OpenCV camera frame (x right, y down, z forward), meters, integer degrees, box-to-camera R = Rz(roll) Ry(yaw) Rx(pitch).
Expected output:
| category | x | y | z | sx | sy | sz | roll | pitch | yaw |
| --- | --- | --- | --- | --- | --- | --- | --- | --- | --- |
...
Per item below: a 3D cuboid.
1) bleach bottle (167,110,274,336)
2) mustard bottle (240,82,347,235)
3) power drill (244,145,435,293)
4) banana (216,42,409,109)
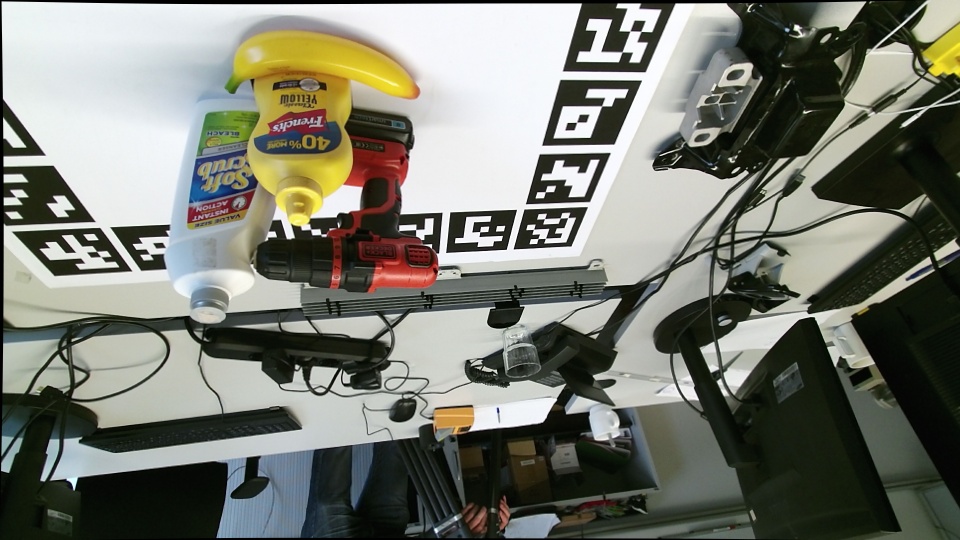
| category | x | y | z | sx | sy | sz | roll | pitch | yaw |
| --- | --- | --- | --- | --- | --- | --- | --- | --- | --- |
| bleach bottle | -0.253 | -0.052 | 0.546 | 0.103 | 0.249 | 0.068 | -3 | 149 | -12 |
| mustard bottle | -0.181 | -0.111 | 0.526 | 0.096 | 0.190 | 0.058 | -3 | 143 | -10 |
| power drill | -0.145 | -0.055 | 0.578 | 0.185 | 0.186 | 0.057 | 5 | 142 | -19 |
| banana | -0.172 | -0.198 | 0.556 | 0.198 | 0.038 | 0.074 | -3 | 142 | -15 |
